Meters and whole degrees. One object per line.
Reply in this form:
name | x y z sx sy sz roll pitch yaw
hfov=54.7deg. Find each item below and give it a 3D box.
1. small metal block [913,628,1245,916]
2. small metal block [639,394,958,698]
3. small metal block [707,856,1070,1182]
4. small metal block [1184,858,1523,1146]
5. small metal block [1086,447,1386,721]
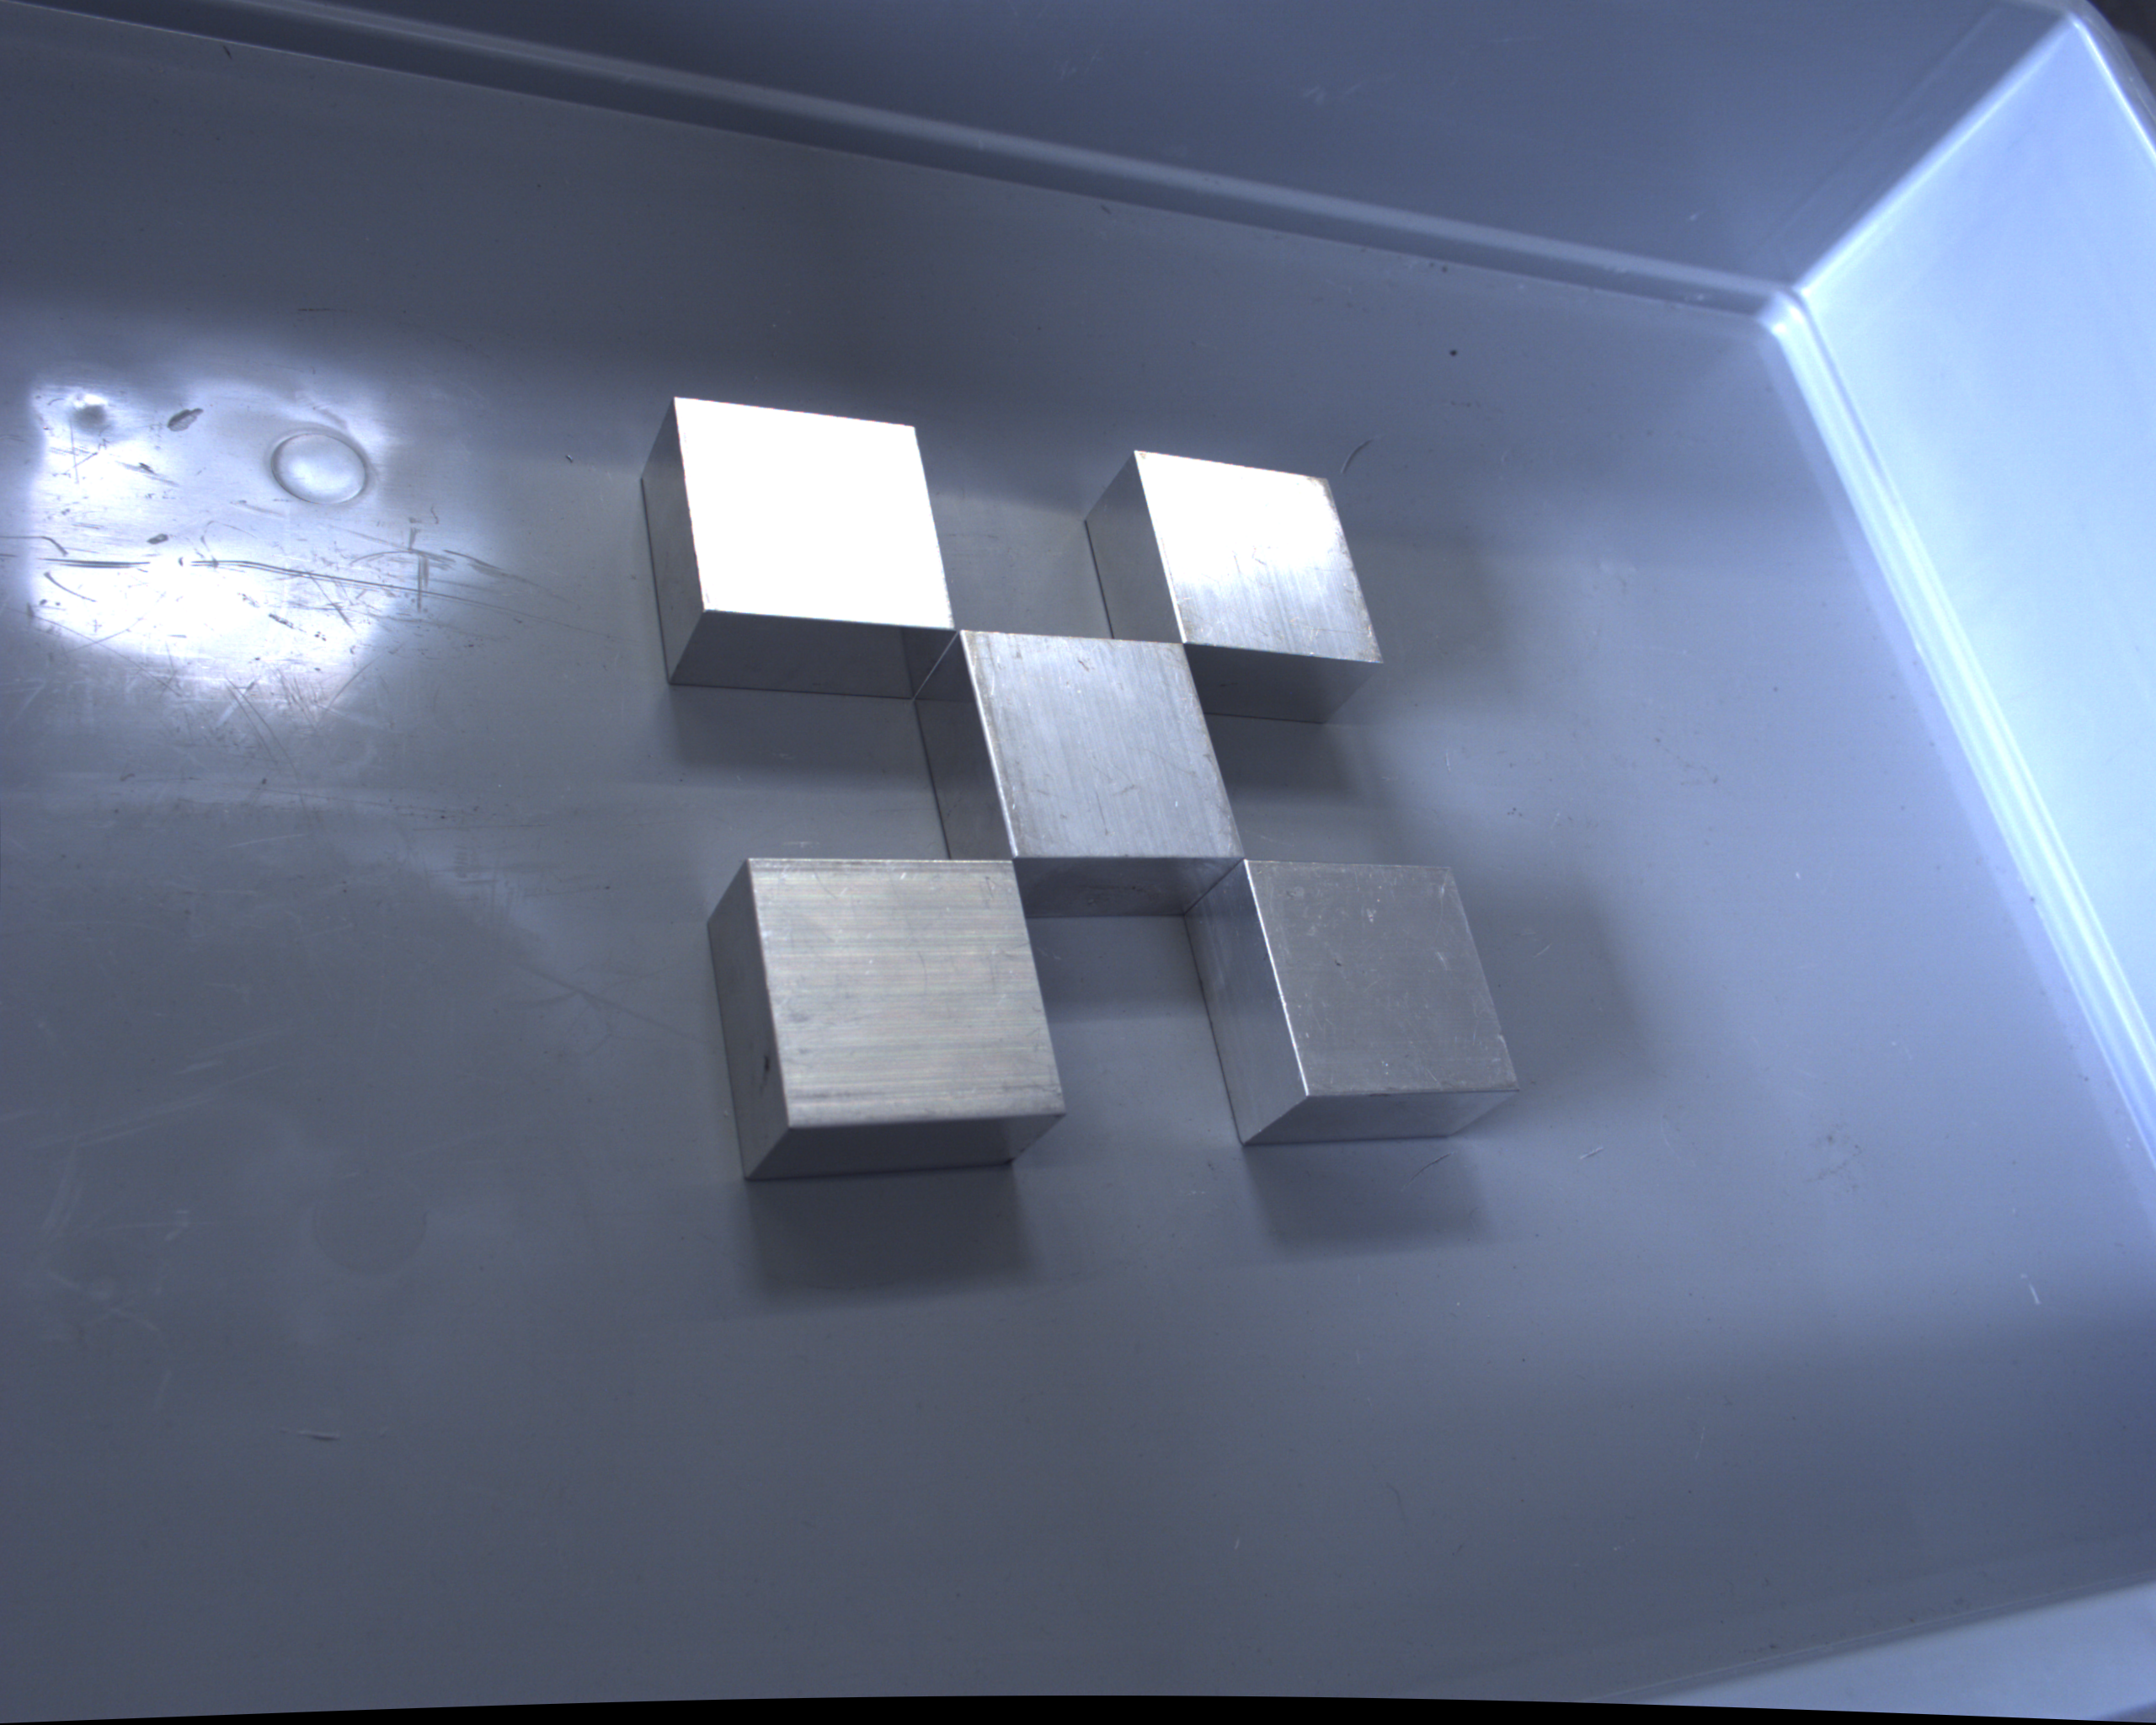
small metal block | 0.000 -0.017 0.413 0.050 0.025 0.050 0 62 -28
small metal block | -0.056 -0.061 0.410 0.050 0.025 0.050 2 61 -28
small metal block | -0.034 0.027 0.368 0.050 0.025 0.050 1 61 -28
small metal block | 0.054 0.027 0.415 0.050 0.025 0.050 1 61 -28
small metal block | 0.034 -0.060 0.457 0.050 0.025 0.050 2 61 -27
